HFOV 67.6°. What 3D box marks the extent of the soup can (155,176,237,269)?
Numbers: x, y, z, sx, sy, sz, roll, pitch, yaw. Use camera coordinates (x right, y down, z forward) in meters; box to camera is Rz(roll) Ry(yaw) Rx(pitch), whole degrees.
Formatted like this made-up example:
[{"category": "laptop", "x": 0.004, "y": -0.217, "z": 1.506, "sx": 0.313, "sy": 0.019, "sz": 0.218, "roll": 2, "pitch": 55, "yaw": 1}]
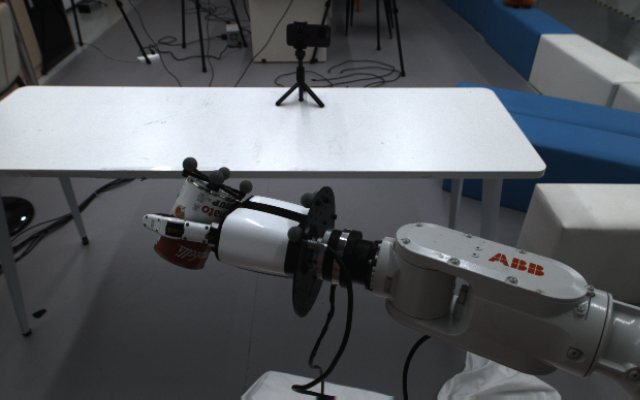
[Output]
[{"category": "soup can", "x": -0.156, "y": 0.028, "z": 0.611, "sx": 0.067, "sy": 0.101, "sz": 0.067, "roll": 27, "pitch": 6, "yaw": -3}]
